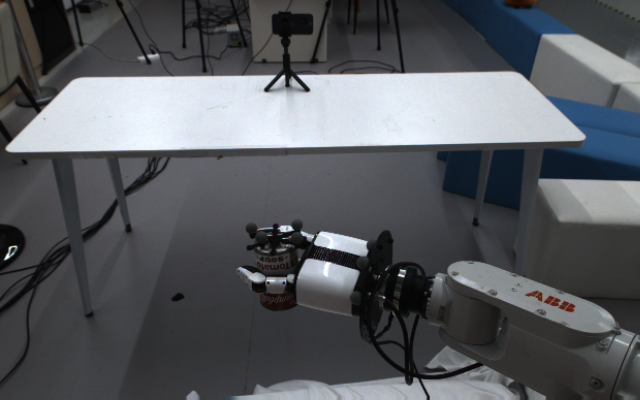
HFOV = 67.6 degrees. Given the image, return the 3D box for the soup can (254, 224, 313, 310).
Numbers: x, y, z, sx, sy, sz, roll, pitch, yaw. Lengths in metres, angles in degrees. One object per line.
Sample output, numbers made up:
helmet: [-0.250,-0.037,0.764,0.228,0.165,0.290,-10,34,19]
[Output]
soup can: [-0.062,0.107,0.734,0.067,0.101,0.067,-3,26,2]
